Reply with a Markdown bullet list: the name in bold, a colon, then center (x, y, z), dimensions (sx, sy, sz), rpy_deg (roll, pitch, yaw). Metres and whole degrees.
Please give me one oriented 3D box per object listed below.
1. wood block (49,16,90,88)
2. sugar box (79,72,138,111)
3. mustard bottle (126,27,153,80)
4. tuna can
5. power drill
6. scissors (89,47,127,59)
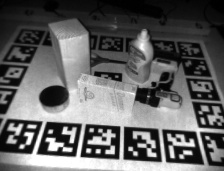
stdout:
- **wood block**: center (-0.127, -0.099, 0.687), dimensions (0.091, 0.207, 0.089), rpy_deg (-20, 55, -18)
- **sugar box**: center (-0.010, 0.017, 0.664), dimensions (0.176, 0.093, 0.045), rpy_deg (14, 47, 5)
- **mustard bottle**: center (0.093, -0.110, 0.723), dimensions (0.059, 0.192, 0.095), rpy_deg (-31, 59, -24)
- **tuna can**: center (-0.177, 0.028, 0.672), dimensions (0.086, 0.034, 0.085), rpy_deg (3, 51, -3)
- **power drill**: center (0.136, -0.030, 0.736), dimensions (0.184, 0.057, 0.187), rpy_deg (14, 57, 7)
- **scissors**: center (-0.045, -0.114, 0.818), dimensions (0.203, 0.016, 0.087), rpy_deg (5, 46, 0)
